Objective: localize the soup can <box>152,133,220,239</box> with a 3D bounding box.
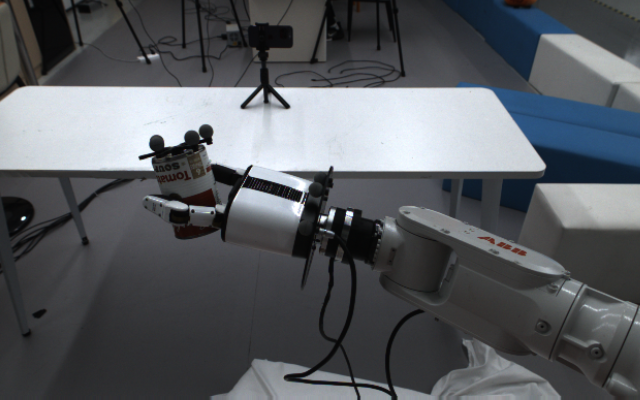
[{"bbox_3d":[-0.160,-0.010,0.601,0.067,0.101,0.067,-12,17,4],"label":"soup can"}]
